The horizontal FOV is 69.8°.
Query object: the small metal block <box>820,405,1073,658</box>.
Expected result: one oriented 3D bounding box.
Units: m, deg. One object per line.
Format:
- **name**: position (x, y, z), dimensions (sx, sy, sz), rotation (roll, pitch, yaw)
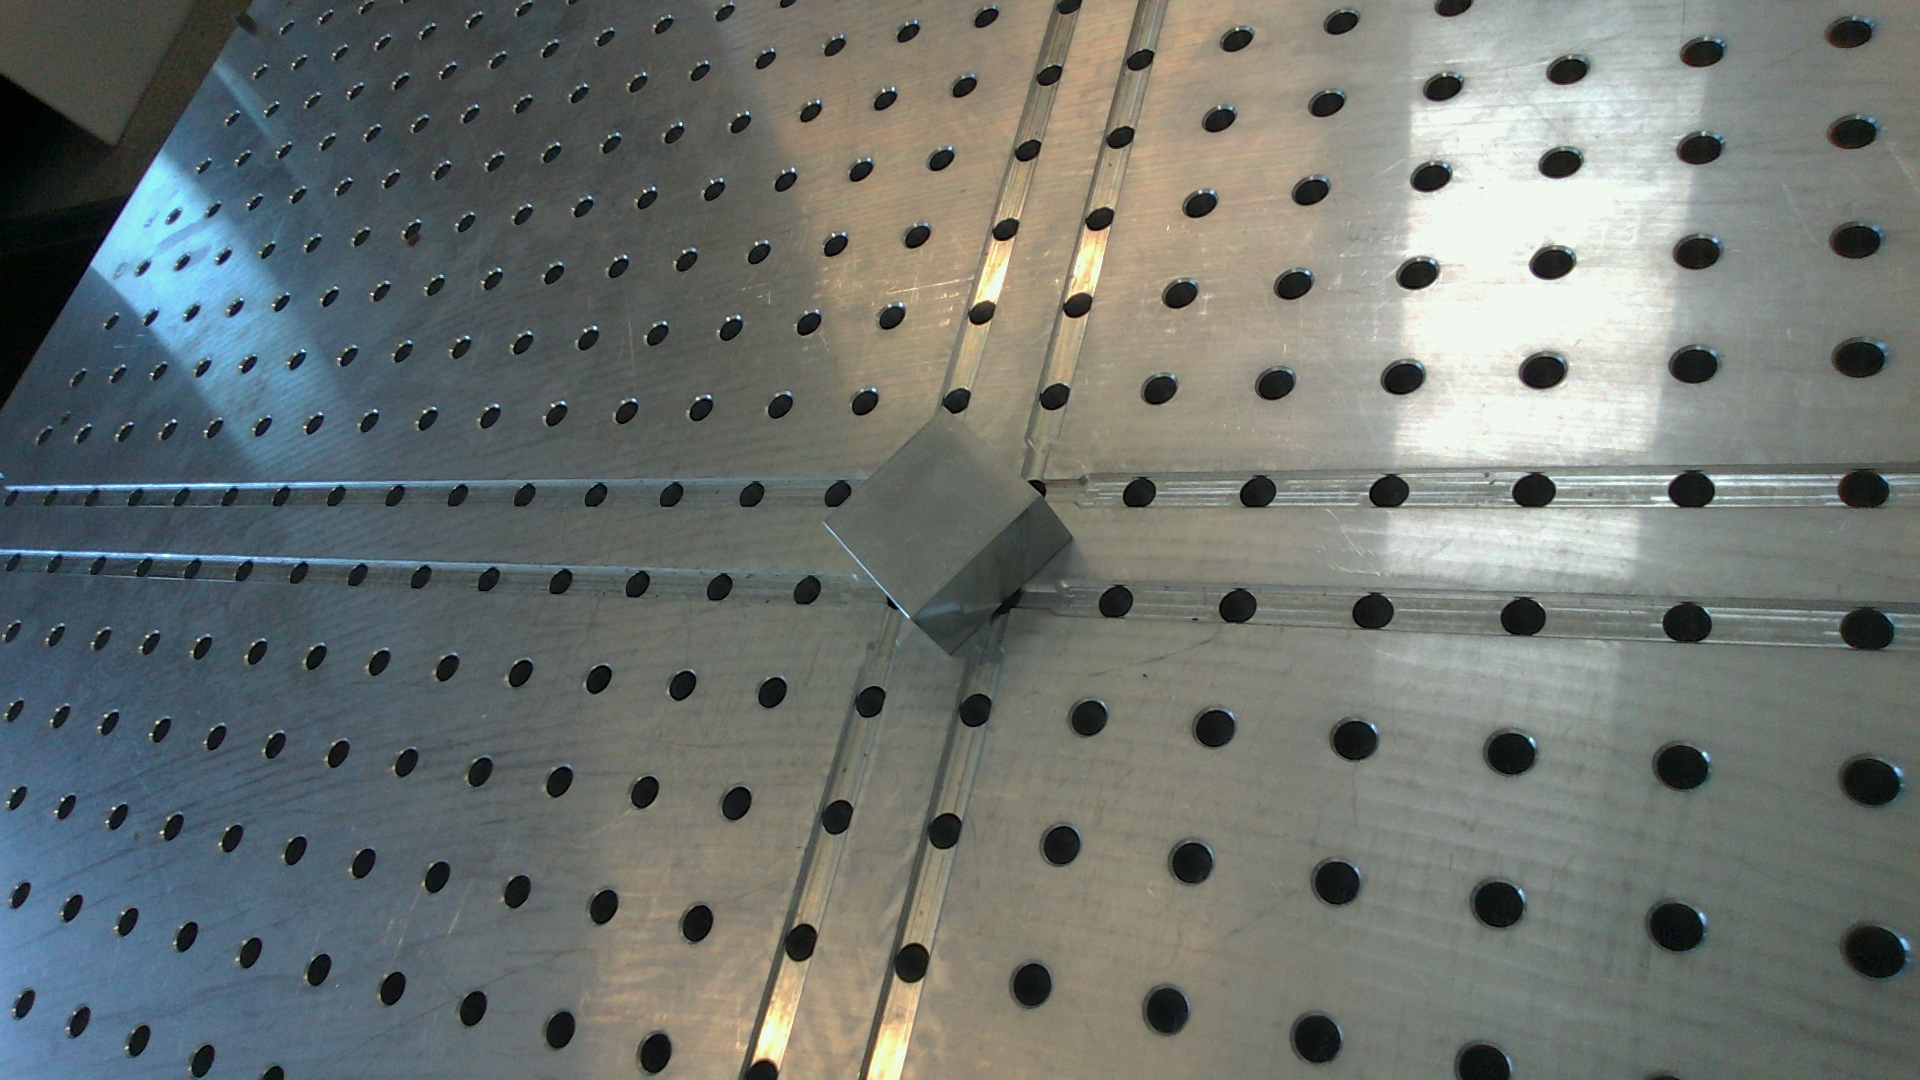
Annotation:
- **small metal block**: position (-0.004, -0.003, 0.401), dimensions (0.050, 0.025, 0.050), rotation (-44, 51, -2)
